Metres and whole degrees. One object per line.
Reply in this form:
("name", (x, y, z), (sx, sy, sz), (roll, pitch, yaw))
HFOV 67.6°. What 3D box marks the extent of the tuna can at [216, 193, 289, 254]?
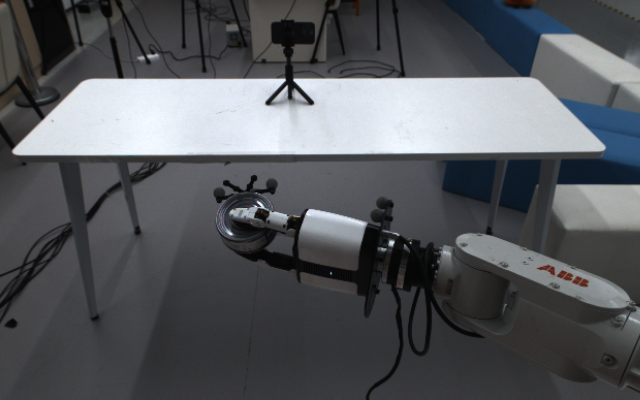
("tuna can", (-0.100, 0.038, 0.687), (0.085, 0.034, 0.085), (-3, 60, 5))
